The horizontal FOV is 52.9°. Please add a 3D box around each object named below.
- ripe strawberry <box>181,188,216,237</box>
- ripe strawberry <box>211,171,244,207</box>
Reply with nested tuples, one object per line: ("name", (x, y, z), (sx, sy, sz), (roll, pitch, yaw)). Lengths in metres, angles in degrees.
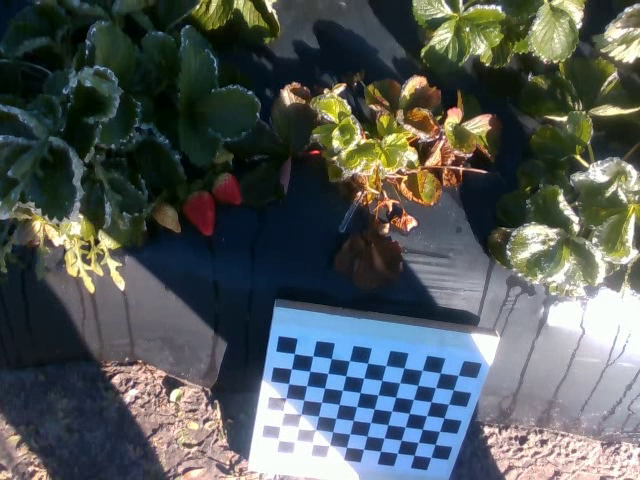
("ripe strawberry", (-0.125, -0.025, 0.681), (0.036, 0.052, 0.039), (-27, -13, 10))
("ripe strawberry", (-0.098, -0.054, 0.687), (0.041, 0.036, 0.030), (36, 20, -12))
